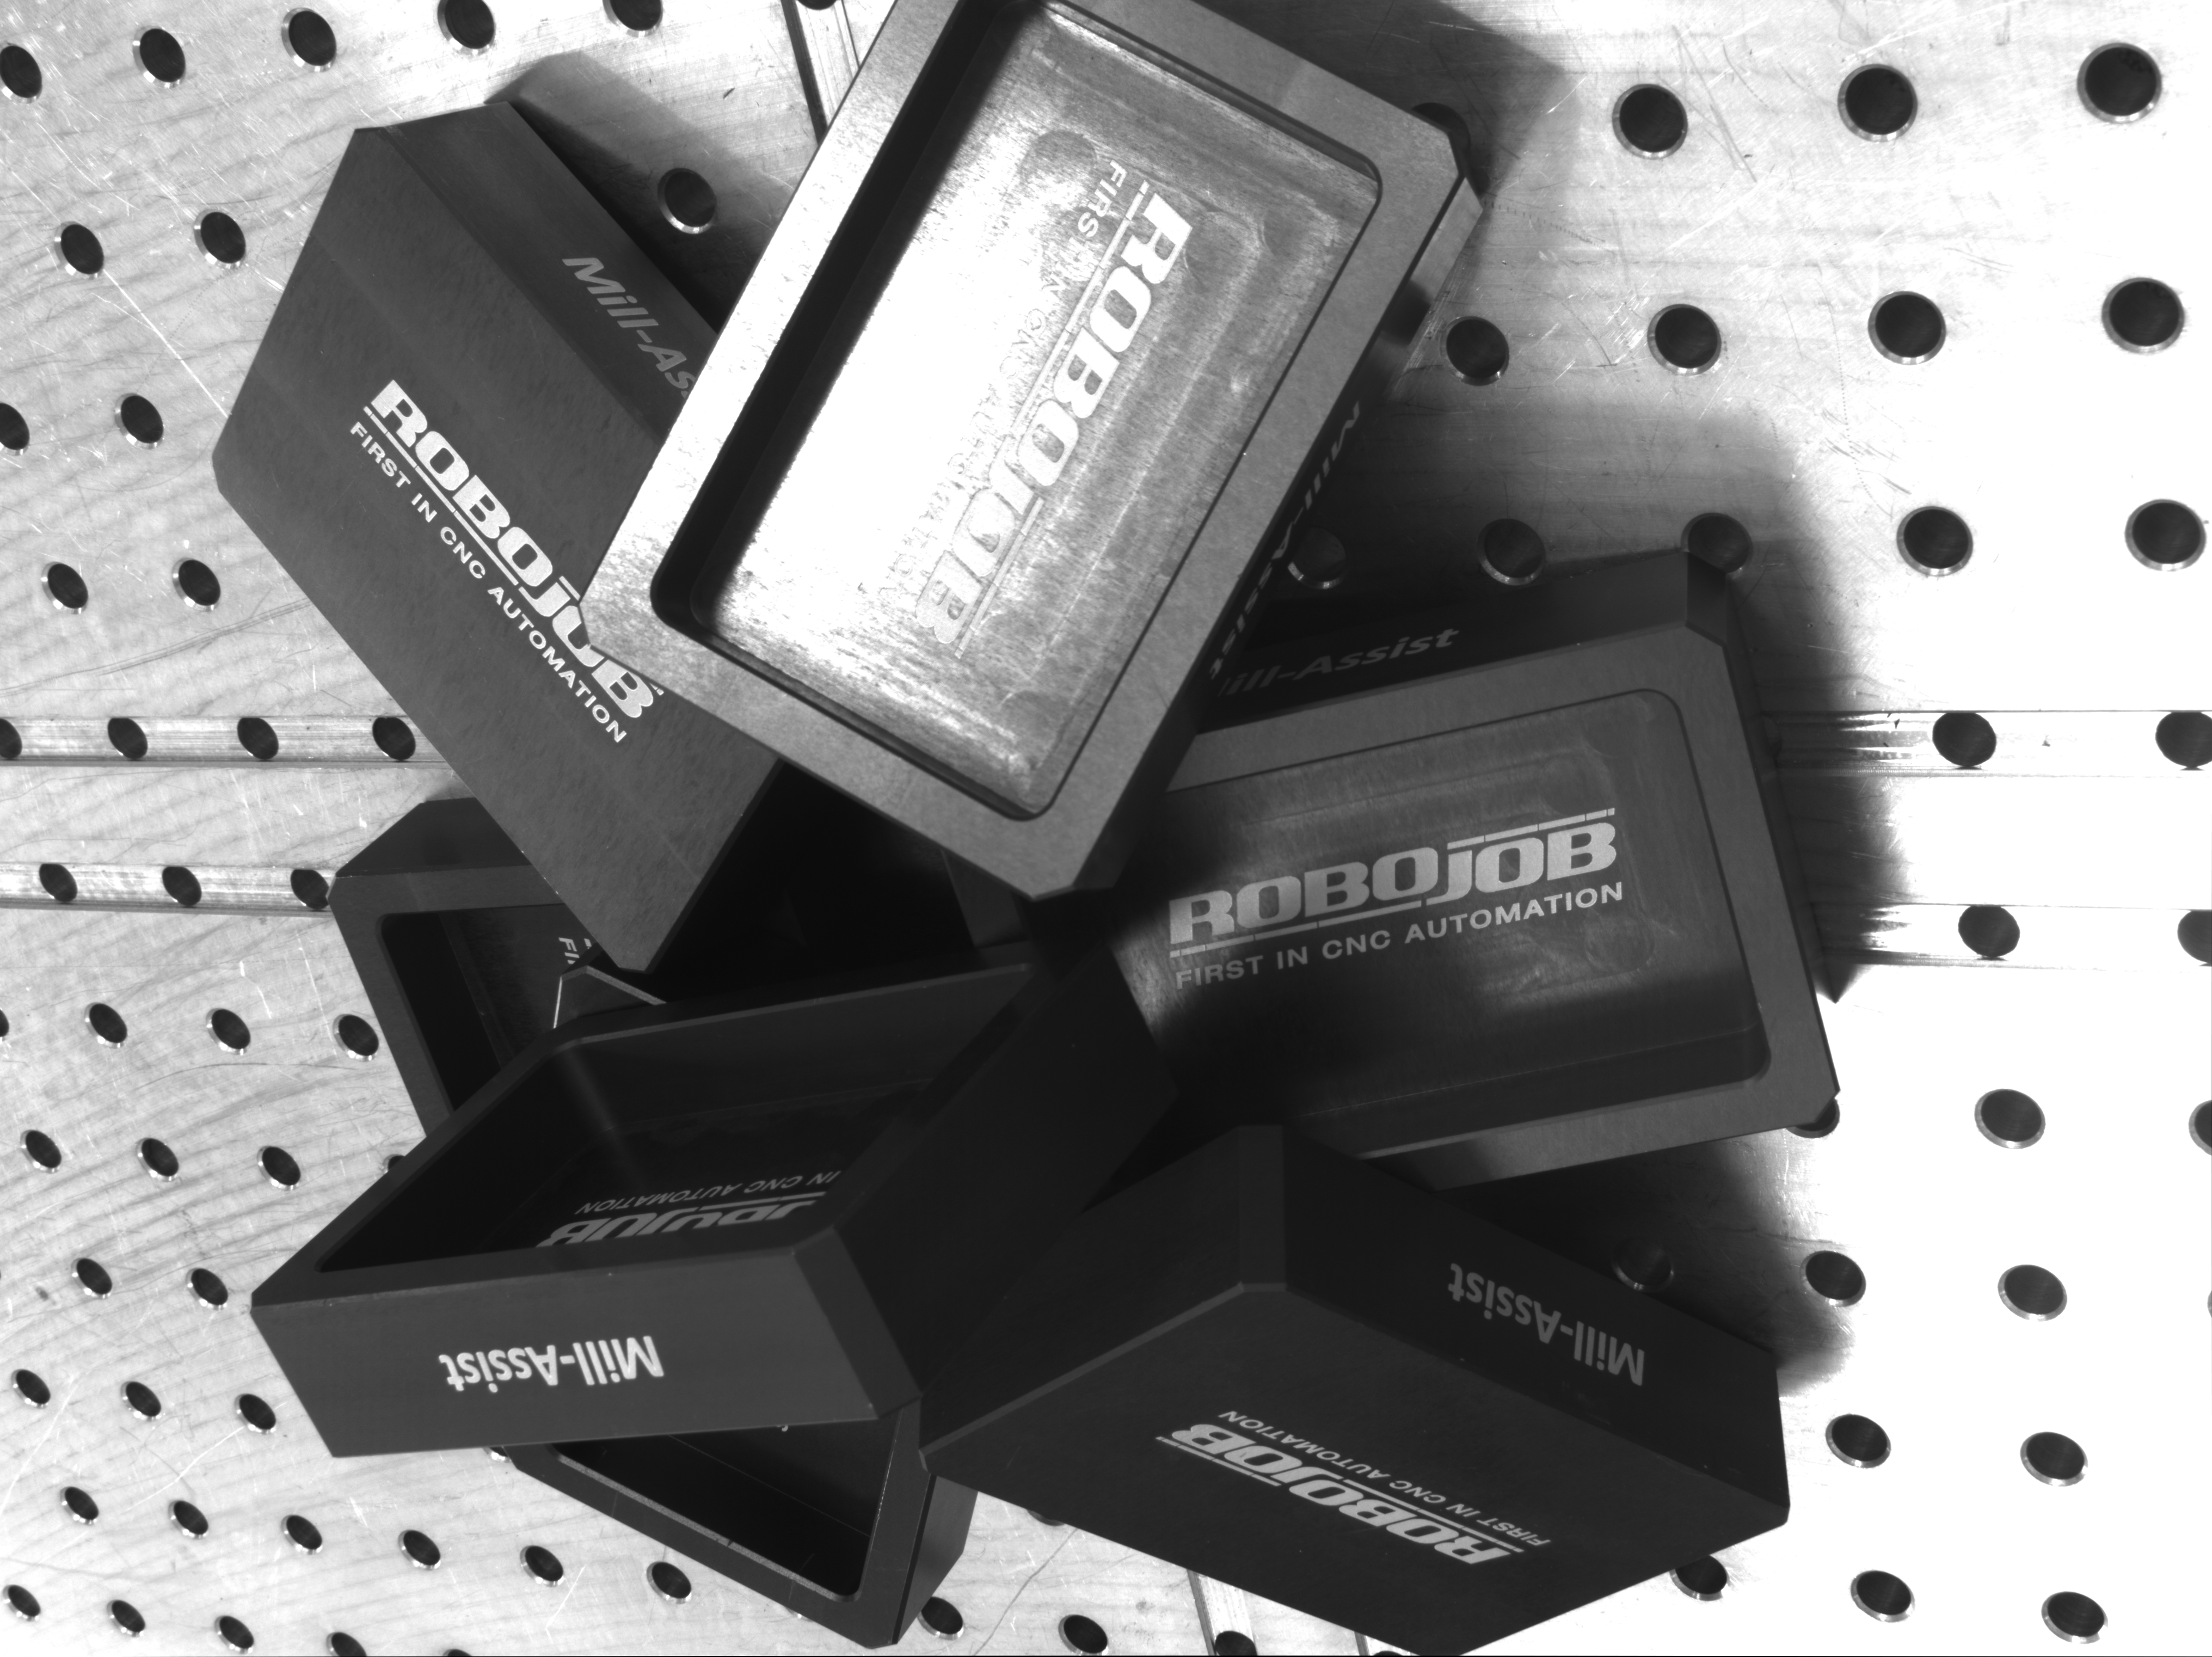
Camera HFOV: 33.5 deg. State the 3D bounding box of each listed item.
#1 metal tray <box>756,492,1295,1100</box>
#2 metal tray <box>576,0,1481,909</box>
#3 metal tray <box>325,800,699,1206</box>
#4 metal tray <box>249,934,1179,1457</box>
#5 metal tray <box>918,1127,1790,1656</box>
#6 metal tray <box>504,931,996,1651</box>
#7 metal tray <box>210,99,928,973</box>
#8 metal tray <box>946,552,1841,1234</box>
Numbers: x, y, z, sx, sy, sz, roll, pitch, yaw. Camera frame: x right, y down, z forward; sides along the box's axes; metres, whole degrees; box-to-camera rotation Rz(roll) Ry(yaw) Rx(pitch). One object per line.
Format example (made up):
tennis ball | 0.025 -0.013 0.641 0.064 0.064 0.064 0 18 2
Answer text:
metal tray | -0.019 0.010 0.659 0.090 0.030 0.130 -6 113 29
metal tray | -0.012 -0.064 0.567 0.090 0.030 0.130 30 95 10
metal tray | -0.090 0.056 0.726 0.090 0.030 0.130 -5 115 30
metal tray | -0.064 0.060 0.592 0.130 0.090 0.030 -11 113 37
metal tray | 0.044 0.102 0.639 0.130 0.030 0.090 27 137 -32
metal tray | -0.063 0.085 0.689 0.090 0.030 0.130 24 127 14
metal tray | -0.096 -0.051 0.641 0.130 0.030 0.090 49 131 14
metal tray | 0.047 0.014 0.603 0.130 0.030 0.090 -12 113 15
